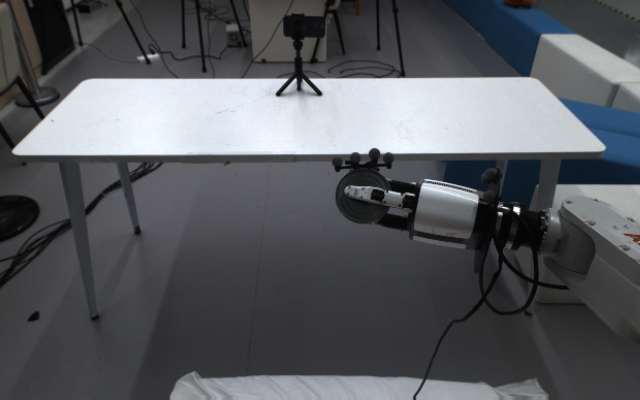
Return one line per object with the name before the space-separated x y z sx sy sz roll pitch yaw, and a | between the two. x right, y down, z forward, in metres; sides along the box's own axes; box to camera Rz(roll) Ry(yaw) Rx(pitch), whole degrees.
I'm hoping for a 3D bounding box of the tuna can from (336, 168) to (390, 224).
tuna can | 0.068 -0.006 0.744 0.085 0.085 0.034 11 -9 12
